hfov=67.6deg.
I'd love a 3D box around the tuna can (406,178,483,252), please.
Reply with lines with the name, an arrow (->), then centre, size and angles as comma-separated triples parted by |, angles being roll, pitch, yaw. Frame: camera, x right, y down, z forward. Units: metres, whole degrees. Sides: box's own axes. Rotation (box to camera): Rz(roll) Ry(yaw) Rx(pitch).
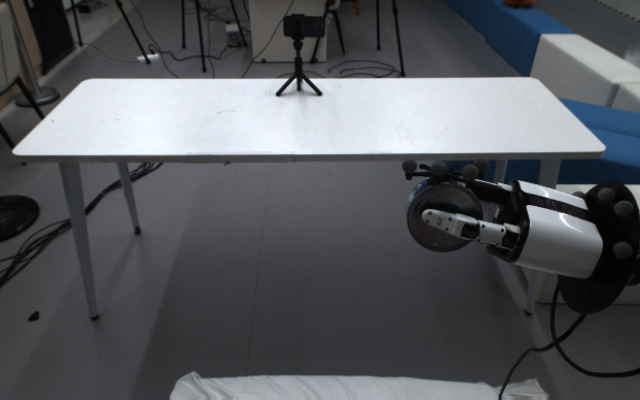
tuna can -> 0.146, 0.015, 0.569 | 0.085, 0.085, 0.034 | 5, 17, 3
